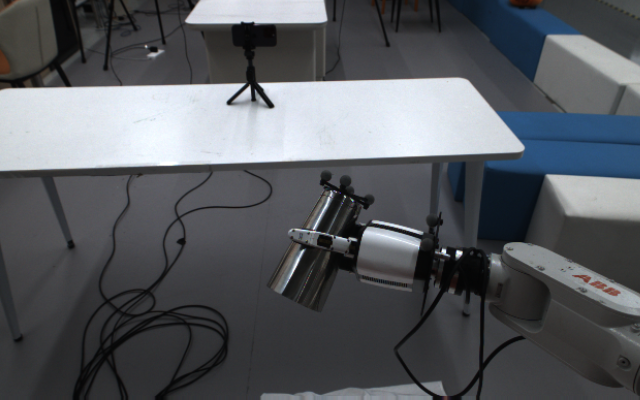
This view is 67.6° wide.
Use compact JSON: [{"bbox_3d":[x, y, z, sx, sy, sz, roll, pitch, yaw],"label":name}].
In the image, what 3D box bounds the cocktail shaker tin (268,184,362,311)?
[{"bbox_3d":[-0.001,0.070,0.735,0.093,0.093,0.170,21,81,25],"label":"cocktail shaker tin"}]
